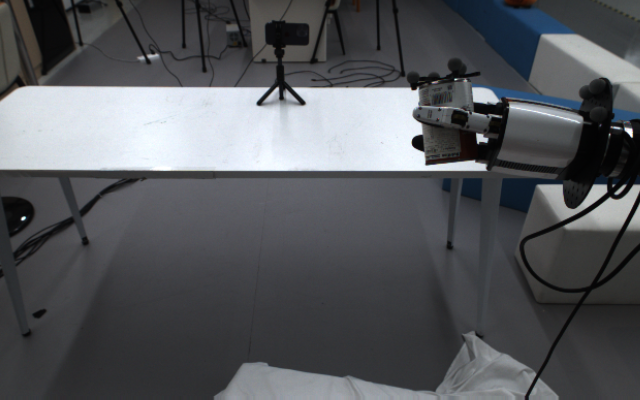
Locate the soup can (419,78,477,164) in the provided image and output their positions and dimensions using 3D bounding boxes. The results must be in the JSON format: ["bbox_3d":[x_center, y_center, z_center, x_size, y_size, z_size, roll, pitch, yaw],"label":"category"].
[{"bbox_3d":[0.166,-0.100,0.623,0.067,0.101,0.067,-7,3,0],"label":"soup can"}]
